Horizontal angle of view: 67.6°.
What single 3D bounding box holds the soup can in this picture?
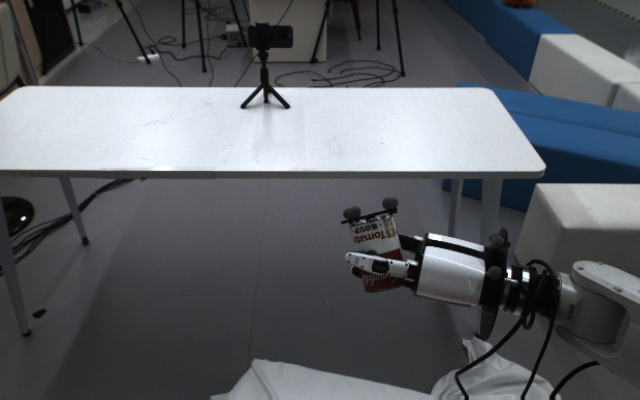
[{"bbox_3d":[0.087,0.077,0.707,0.067,0.101,0.067,-14,-2,-1],"label":"soup can"}]
